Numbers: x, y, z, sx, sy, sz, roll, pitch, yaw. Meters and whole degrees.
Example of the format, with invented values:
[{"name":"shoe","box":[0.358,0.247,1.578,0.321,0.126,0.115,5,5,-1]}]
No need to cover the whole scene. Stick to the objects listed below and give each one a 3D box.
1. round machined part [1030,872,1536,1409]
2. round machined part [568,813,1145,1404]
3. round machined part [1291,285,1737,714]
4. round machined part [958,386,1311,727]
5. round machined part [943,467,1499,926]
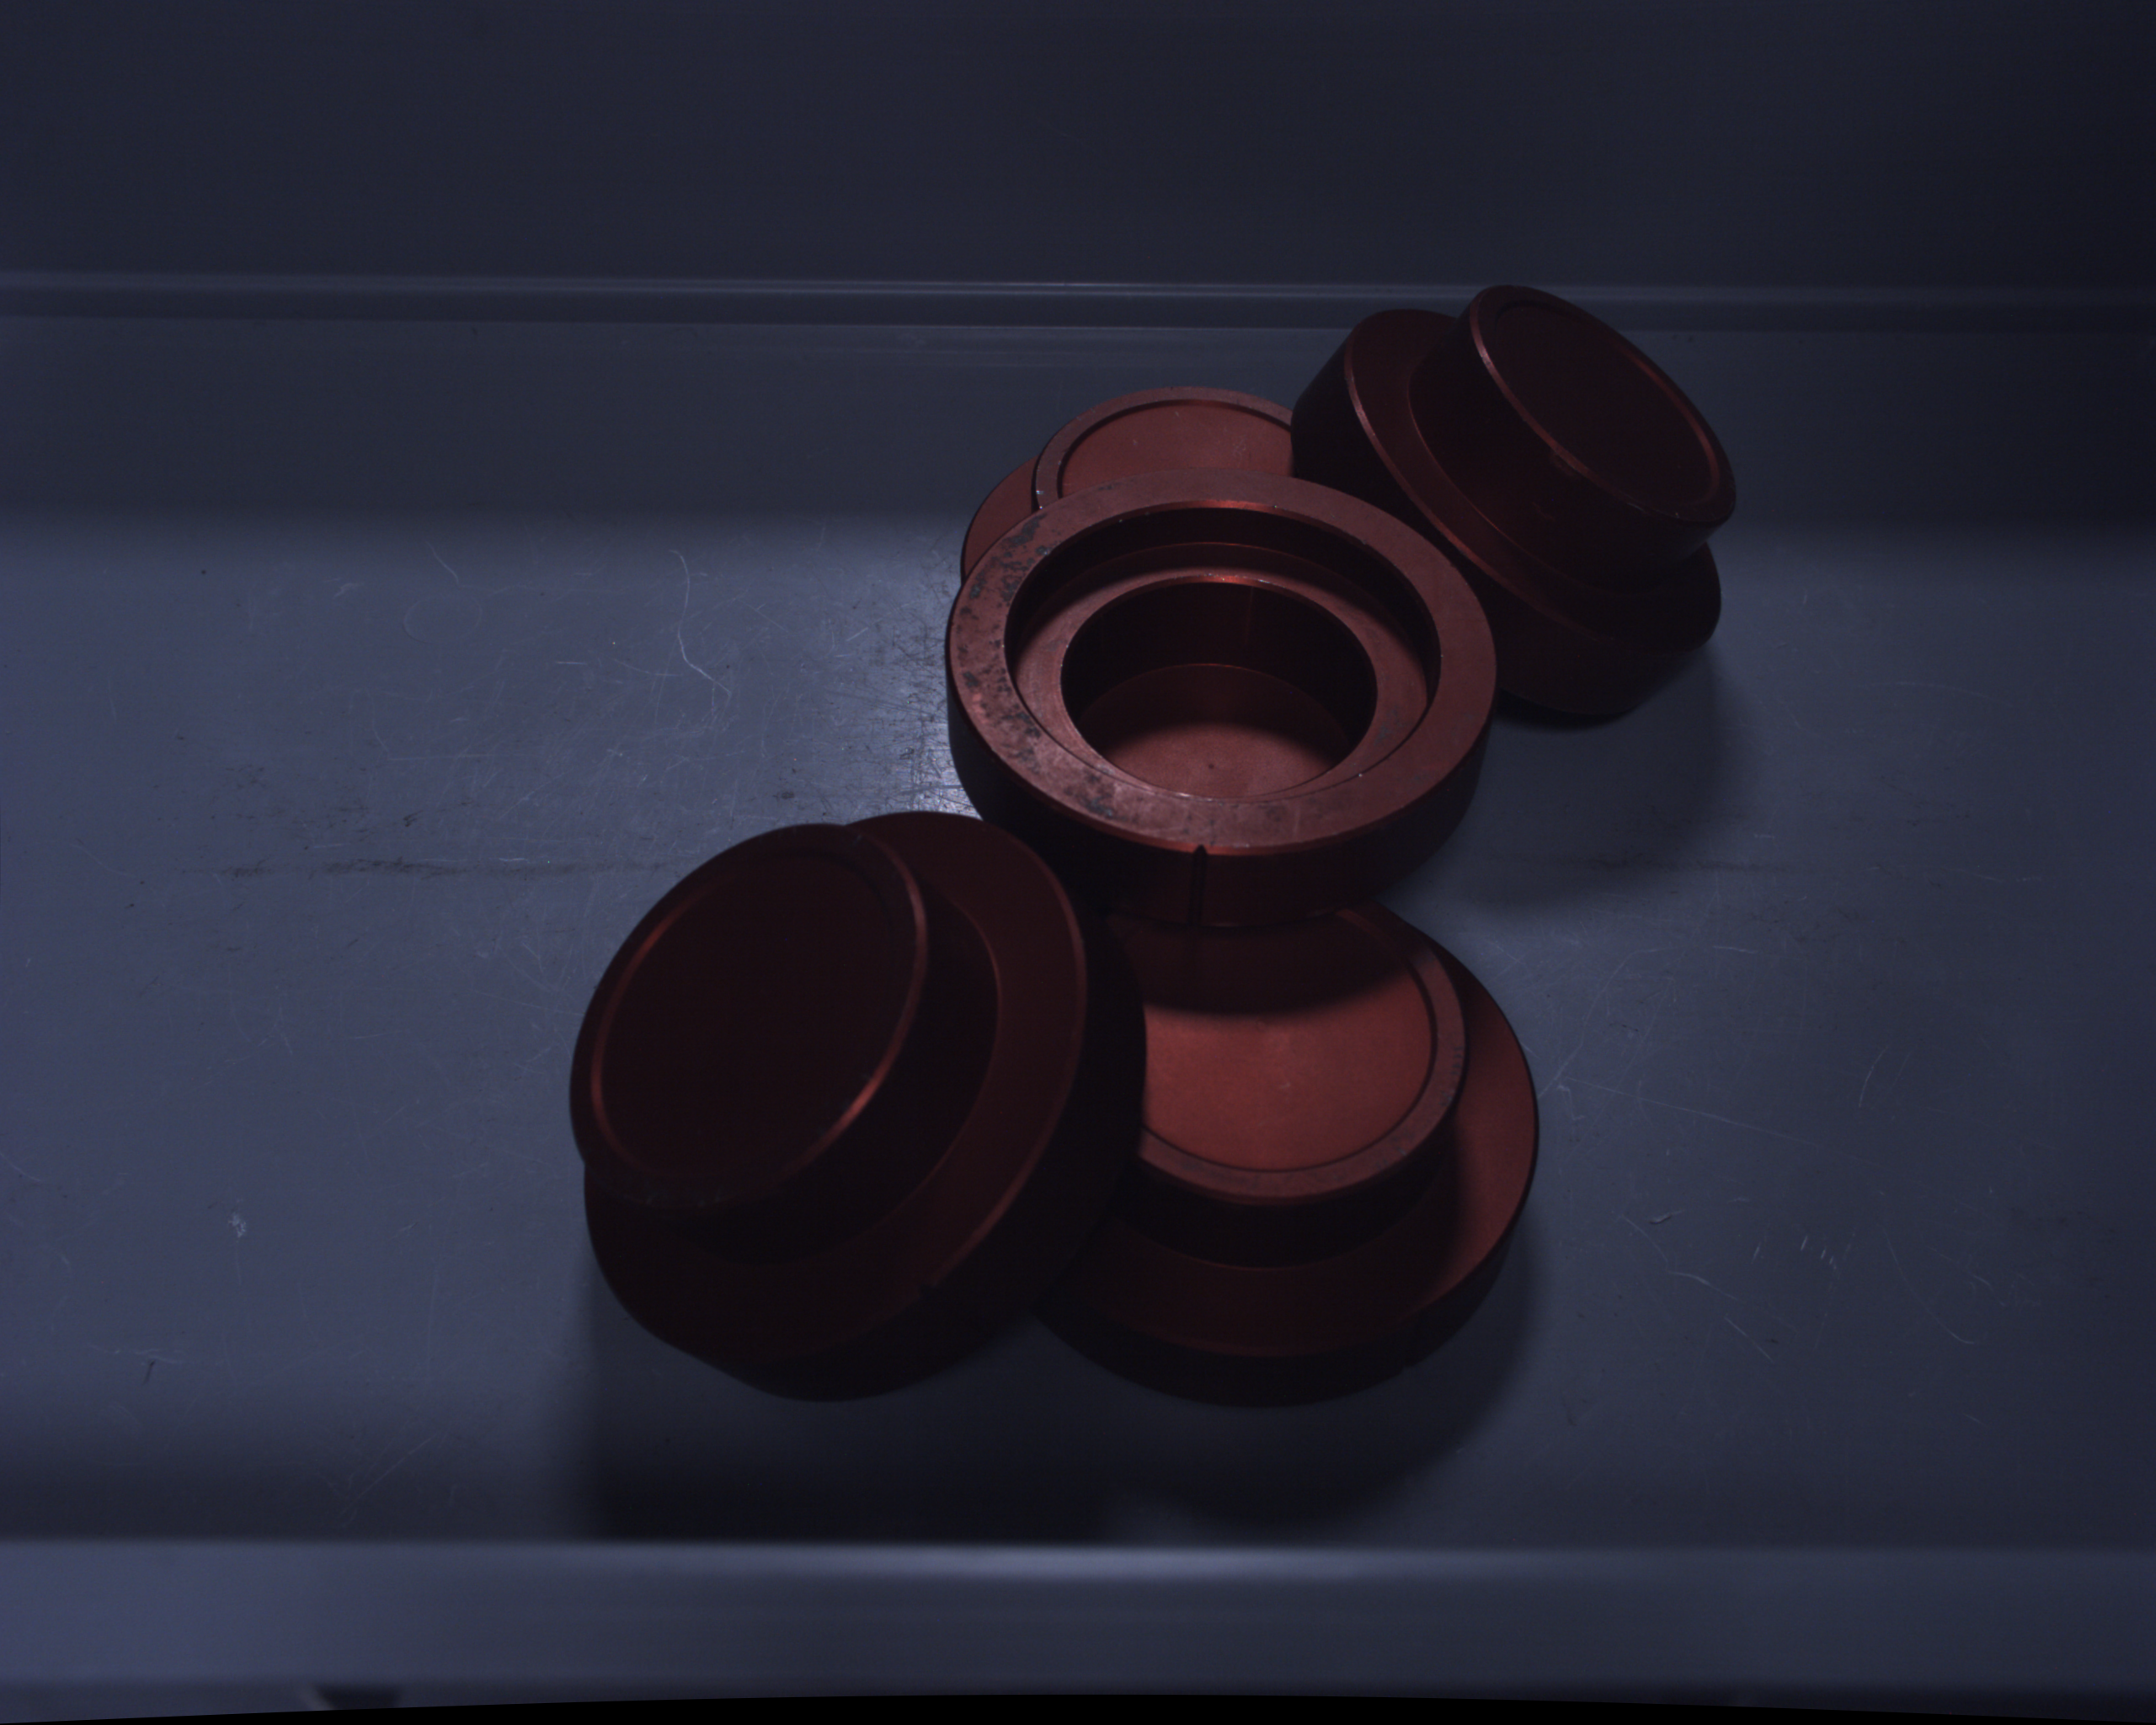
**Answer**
[{"name":"round machined part","box":[0.030,0.040,0.359,0.099,0.042,0.098,0,50,0]},{"name":"round machined part","box":[-0.042,0.033,0.336,0.098,0.042,0.098,-18,50,23]},{"name":"round machined part","box":[0.097,-0.081,0.434,0.099,0.042,0.098,22,43,-22]},{"name":"round machined part","box":[0.024,-0.065,0.446,0.099,0.042,0.098,0,50,0]},{"name":"round machined part","box":[0.025,-0.026,0.386,0.099,0.042,0.098,0,50,0]}]
